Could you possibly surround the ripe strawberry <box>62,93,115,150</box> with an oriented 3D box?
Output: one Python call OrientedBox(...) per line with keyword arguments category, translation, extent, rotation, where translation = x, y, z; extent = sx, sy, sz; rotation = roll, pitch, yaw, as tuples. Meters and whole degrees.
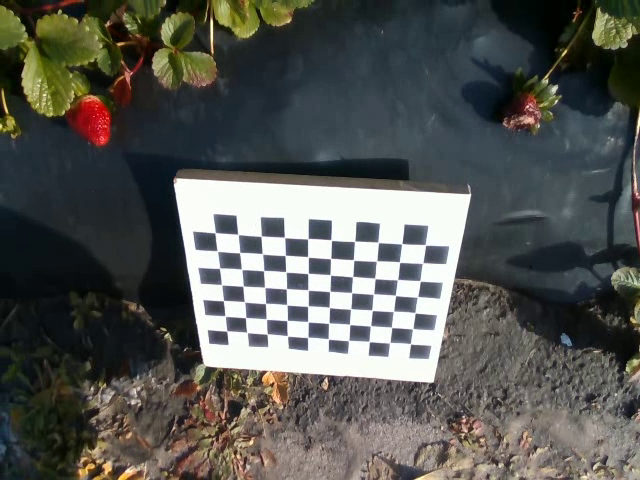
OrientedBox(category="ripe strawberry", translation=(-0.211, -0.106, 0.590), extent=(0.040, 0.056, 0.040), rotation=(-41, -21, 34))
